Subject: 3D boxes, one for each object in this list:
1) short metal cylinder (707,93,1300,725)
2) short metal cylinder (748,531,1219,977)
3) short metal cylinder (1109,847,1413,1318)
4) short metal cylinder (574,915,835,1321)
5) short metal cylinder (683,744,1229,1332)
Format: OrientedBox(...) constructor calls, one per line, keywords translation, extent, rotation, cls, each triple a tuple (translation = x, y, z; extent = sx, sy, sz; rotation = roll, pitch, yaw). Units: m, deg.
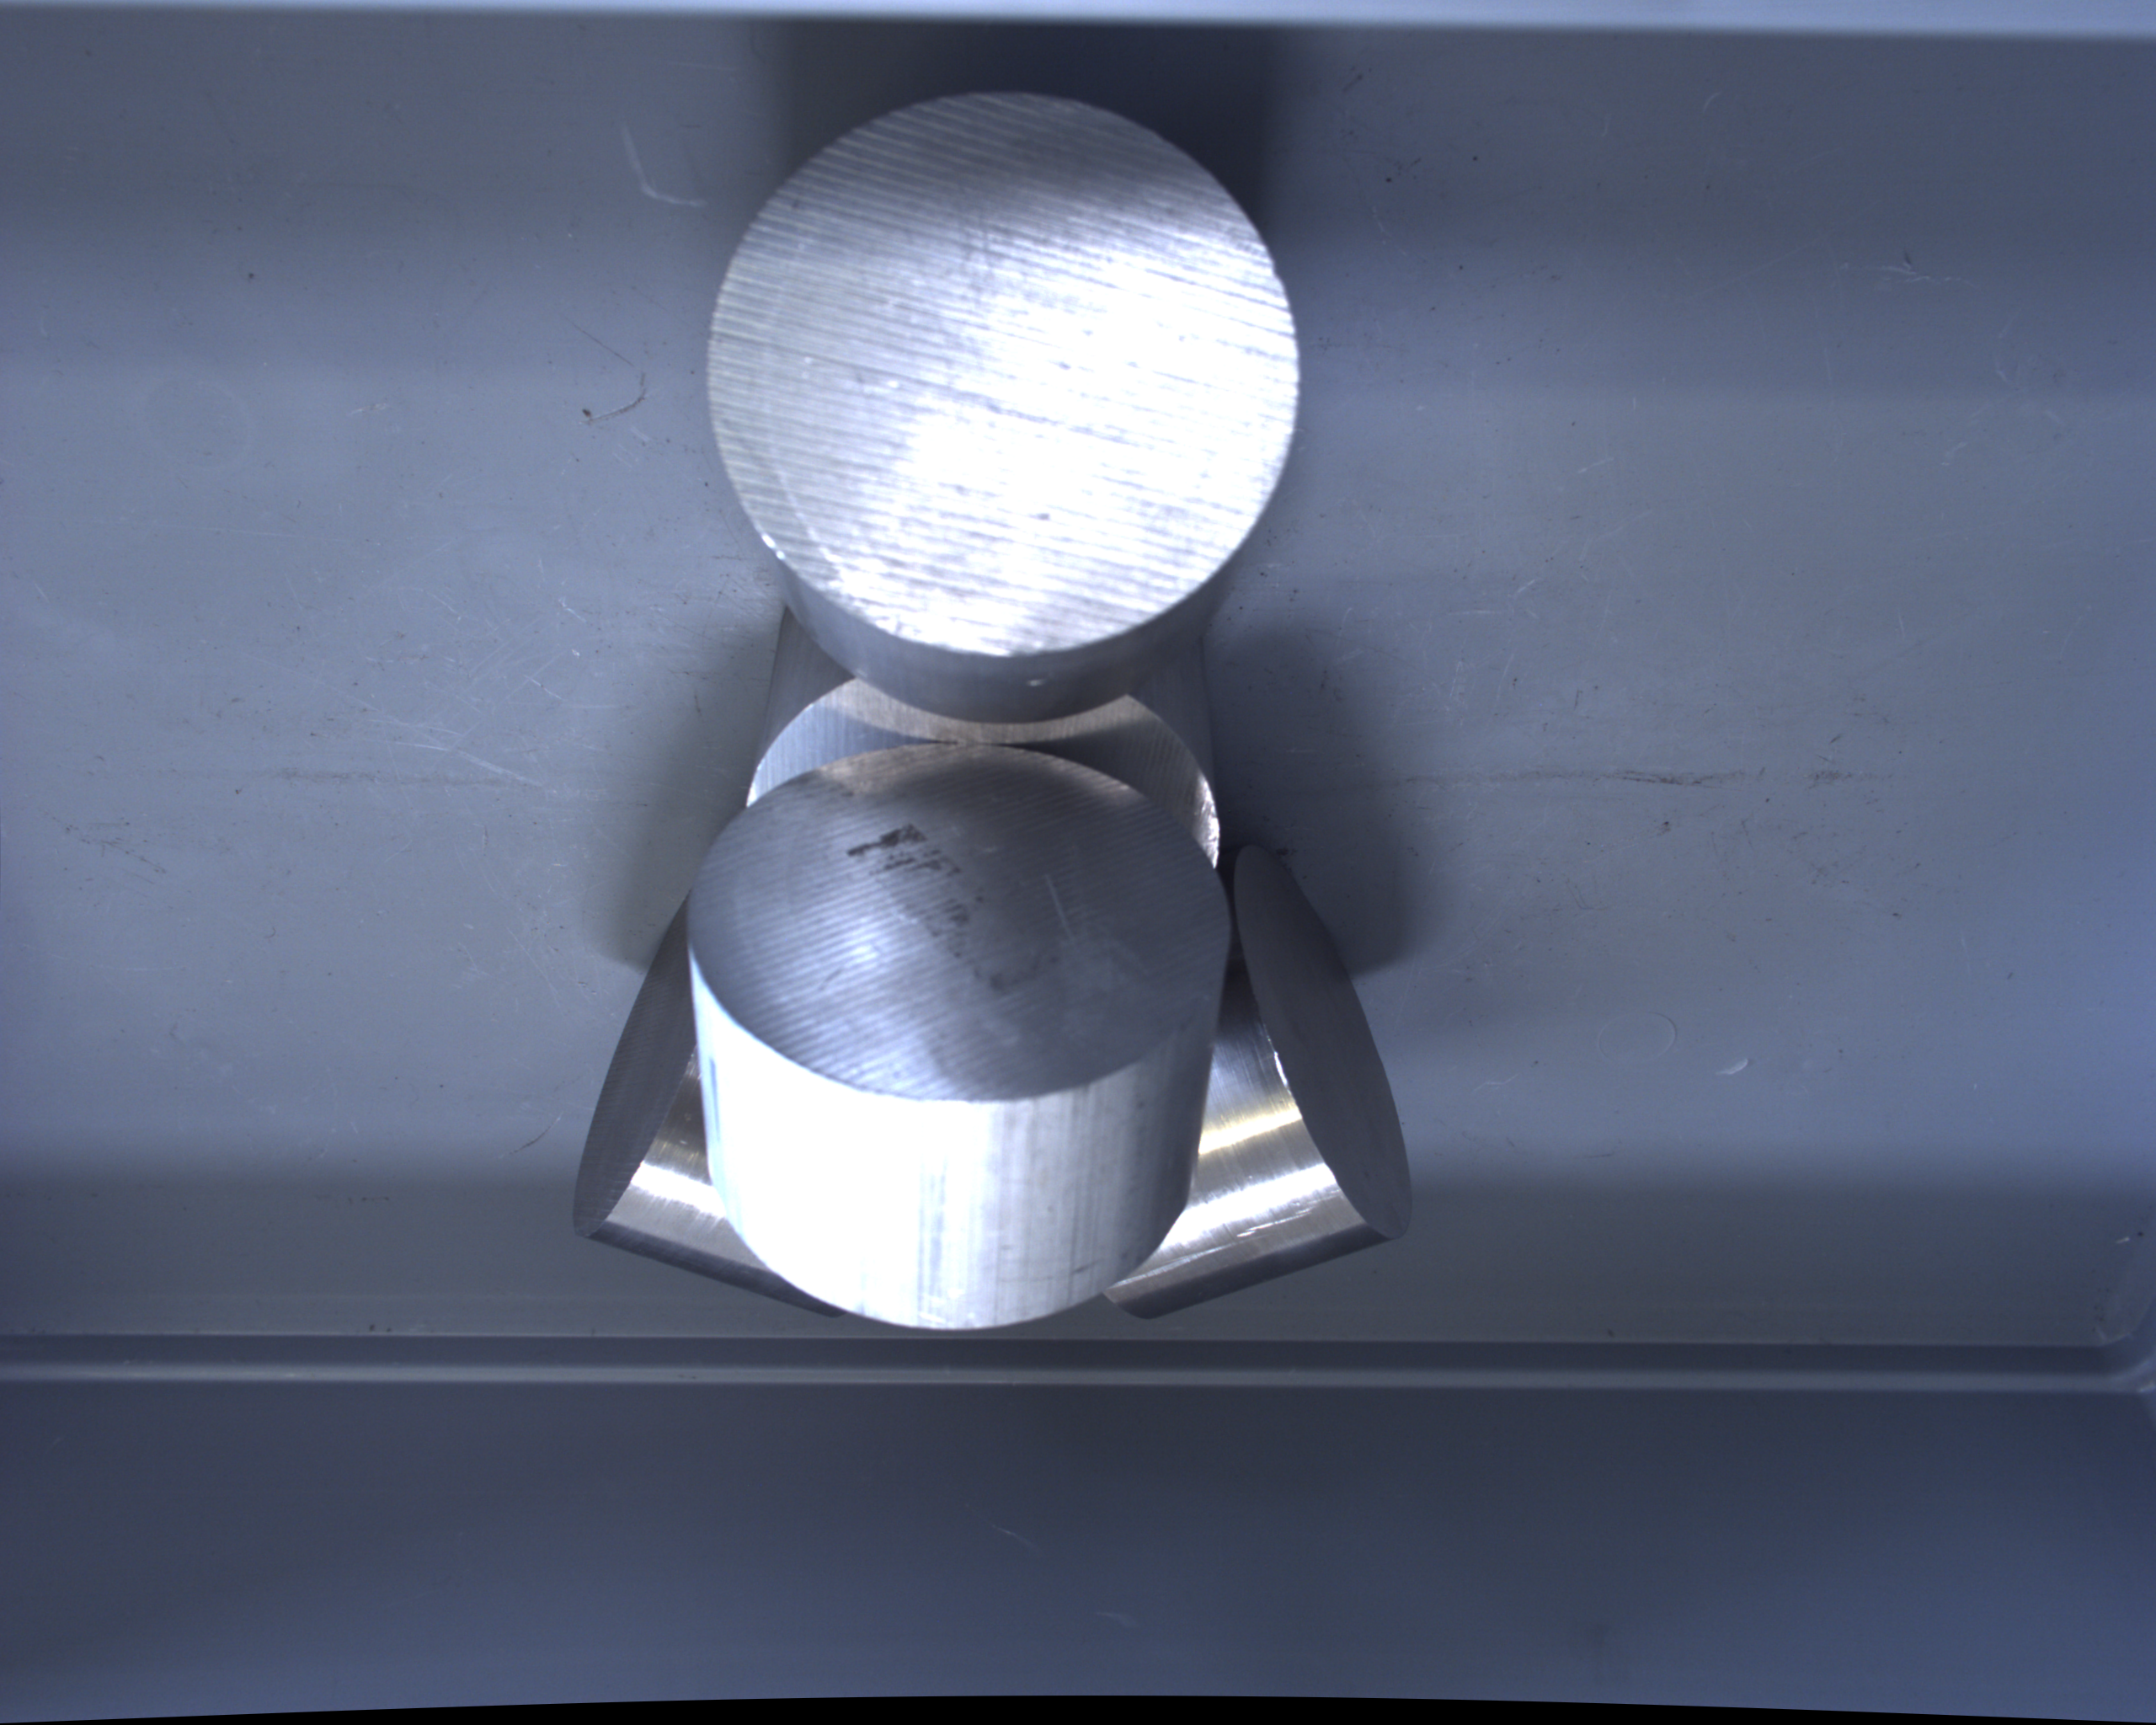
OrientedBox(translation=(-0.011, -0.064, 0.308), extent=(0.081, 0.080, 0.050), rotation=(3, 173, -3), cls="short metal cylinder")
OrientedBox(translation=(-0.016, -0.018, 0.373), extent=(0.081, 0.050, 0.079), rotation=(0, 130, 0), cls="short metal cylinder")
OrientedBox(translation=(0.026, 0.043, 0.408), extent=(0.050, 0.080, 0.080), rotation=(-22, 127, 18), cls="short metal cylinder")
OrientedBox(translation=(-0.058, 0.043, 0.406), extent=(0.050, 0.080, 0.080), rotation=(23, 126, -18), cls="short metal cylinder")
OrientedBox(translation=(-0.019, 0.025, 0.326), extent=(0.081, 0.080, 0.050), rotation=(2, 130, -2), cls="short metal cylinder")
